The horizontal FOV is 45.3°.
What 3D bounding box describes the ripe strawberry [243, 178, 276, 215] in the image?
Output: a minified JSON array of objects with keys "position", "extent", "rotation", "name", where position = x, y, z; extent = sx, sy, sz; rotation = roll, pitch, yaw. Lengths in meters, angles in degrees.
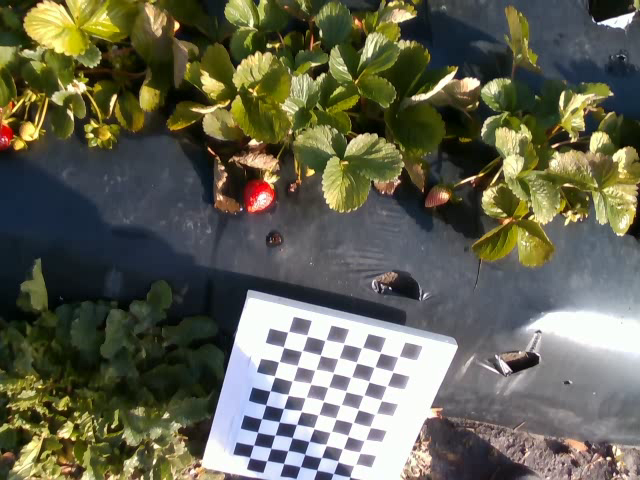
[{"position":[-0.070,-0.039,0.795],"extent":[0.046,0.054,0.037],"rotation":[34,-24,-18],"name":"ripe strawberry"}]
